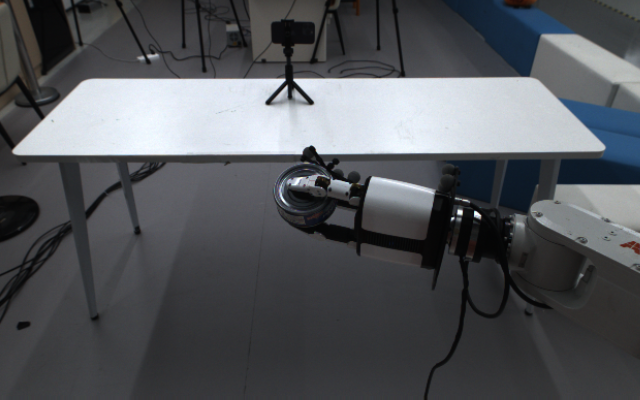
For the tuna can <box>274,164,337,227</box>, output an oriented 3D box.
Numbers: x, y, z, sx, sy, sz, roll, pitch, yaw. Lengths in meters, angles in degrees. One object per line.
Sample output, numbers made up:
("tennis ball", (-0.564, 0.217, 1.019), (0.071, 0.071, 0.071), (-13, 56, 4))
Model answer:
("tuna can", (-0.018, -0.009, 0.658), (0.085, 0.034, 0.085), (-4, 58, 6))
